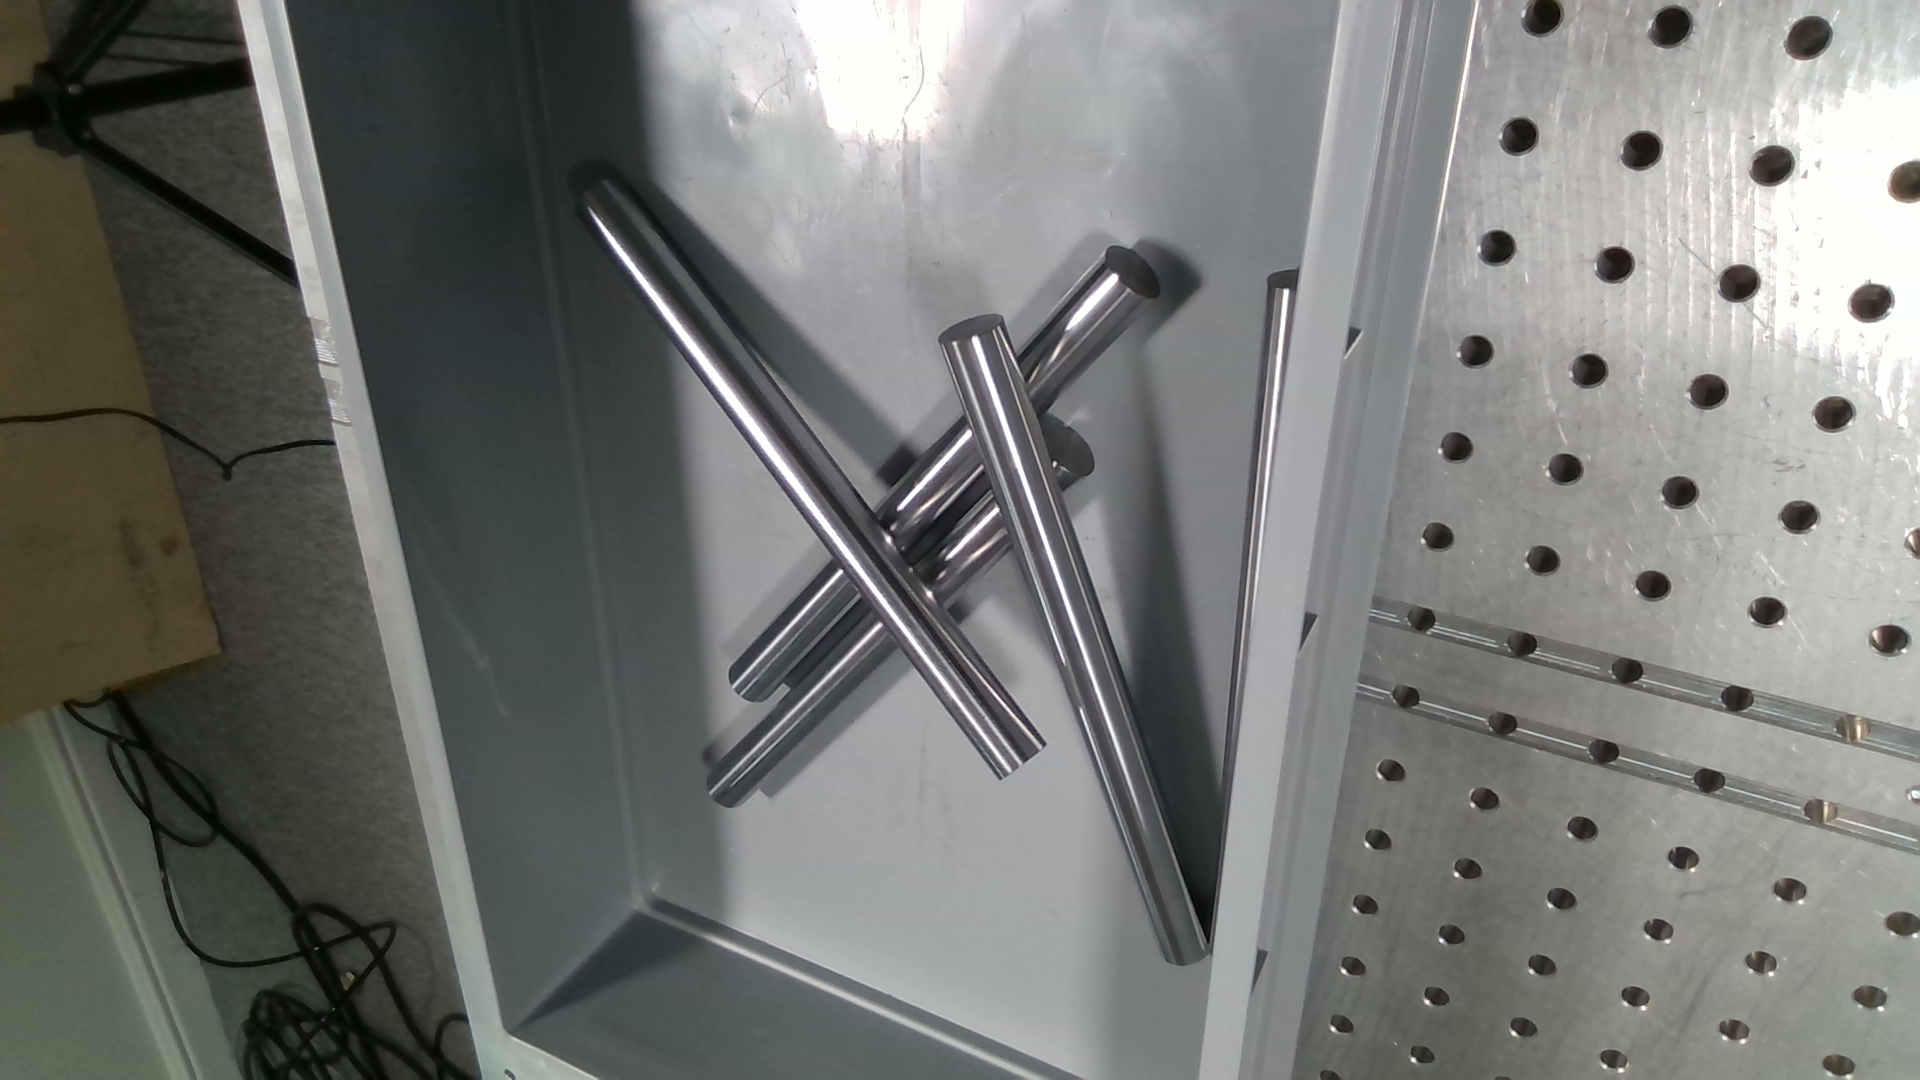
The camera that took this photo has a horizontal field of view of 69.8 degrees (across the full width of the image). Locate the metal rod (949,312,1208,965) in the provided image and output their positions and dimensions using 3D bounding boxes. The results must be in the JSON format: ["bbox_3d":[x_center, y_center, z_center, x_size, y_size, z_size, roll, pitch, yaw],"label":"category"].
[{"bbox_3d":[0.056,0.052,0.554,0.025,0.025,0.301,-4,119,33],"label":"metal rod"}]

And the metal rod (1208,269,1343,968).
[{"bbox_3d":[0.118,0.046,0.532,0.025,0.025,0.301,13,121,25],"label":"metal rod"}]

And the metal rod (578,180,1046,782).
[{"bbox_3d":[-0.064,-0.028,0.577,0.300,0.025,0.025,53,130,6],"label":"metal rod"}]

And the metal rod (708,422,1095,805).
[{"bbox_3d":[-0.040,0.047,0.629,0.025,0.025,0.301,46,129,2],"label":"metal rod"}]

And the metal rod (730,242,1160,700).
[{"bbox_3d":[-0.021,-0.014,0.585,0.025,0.025,0.301,46,129,2],"label":"metal rod"}]
